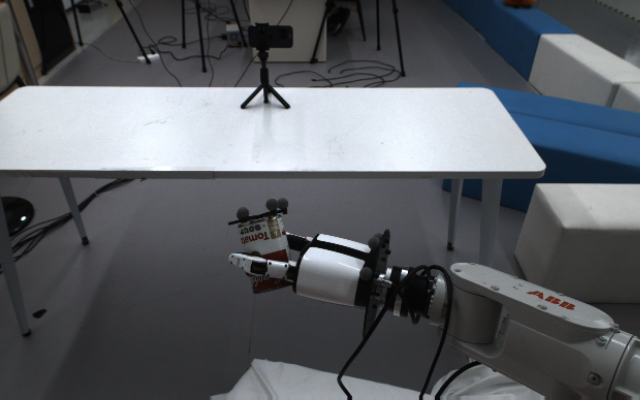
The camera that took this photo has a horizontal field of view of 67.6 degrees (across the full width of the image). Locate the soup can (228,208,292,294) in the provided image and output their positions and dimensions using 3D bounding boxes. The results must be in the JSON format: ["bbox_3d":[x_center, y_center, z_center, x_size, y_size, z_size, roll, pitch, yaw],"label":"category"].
[{"bbox_3d":[-0.075,0.078,0.706,0.067,0.101,0.067,-14,-2,-1],"label":"soup can"}]
